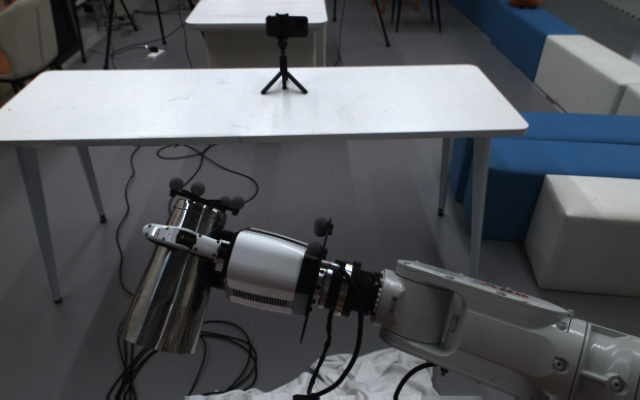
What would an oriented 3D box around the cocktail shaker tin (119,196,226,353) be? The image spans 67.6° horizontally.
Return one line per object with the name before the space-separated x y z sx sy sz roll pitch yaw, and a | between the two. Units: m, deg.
cocktail shaker tin | -0.168 0.089 0.592 0.093 0.093 0.170 13 79 15
